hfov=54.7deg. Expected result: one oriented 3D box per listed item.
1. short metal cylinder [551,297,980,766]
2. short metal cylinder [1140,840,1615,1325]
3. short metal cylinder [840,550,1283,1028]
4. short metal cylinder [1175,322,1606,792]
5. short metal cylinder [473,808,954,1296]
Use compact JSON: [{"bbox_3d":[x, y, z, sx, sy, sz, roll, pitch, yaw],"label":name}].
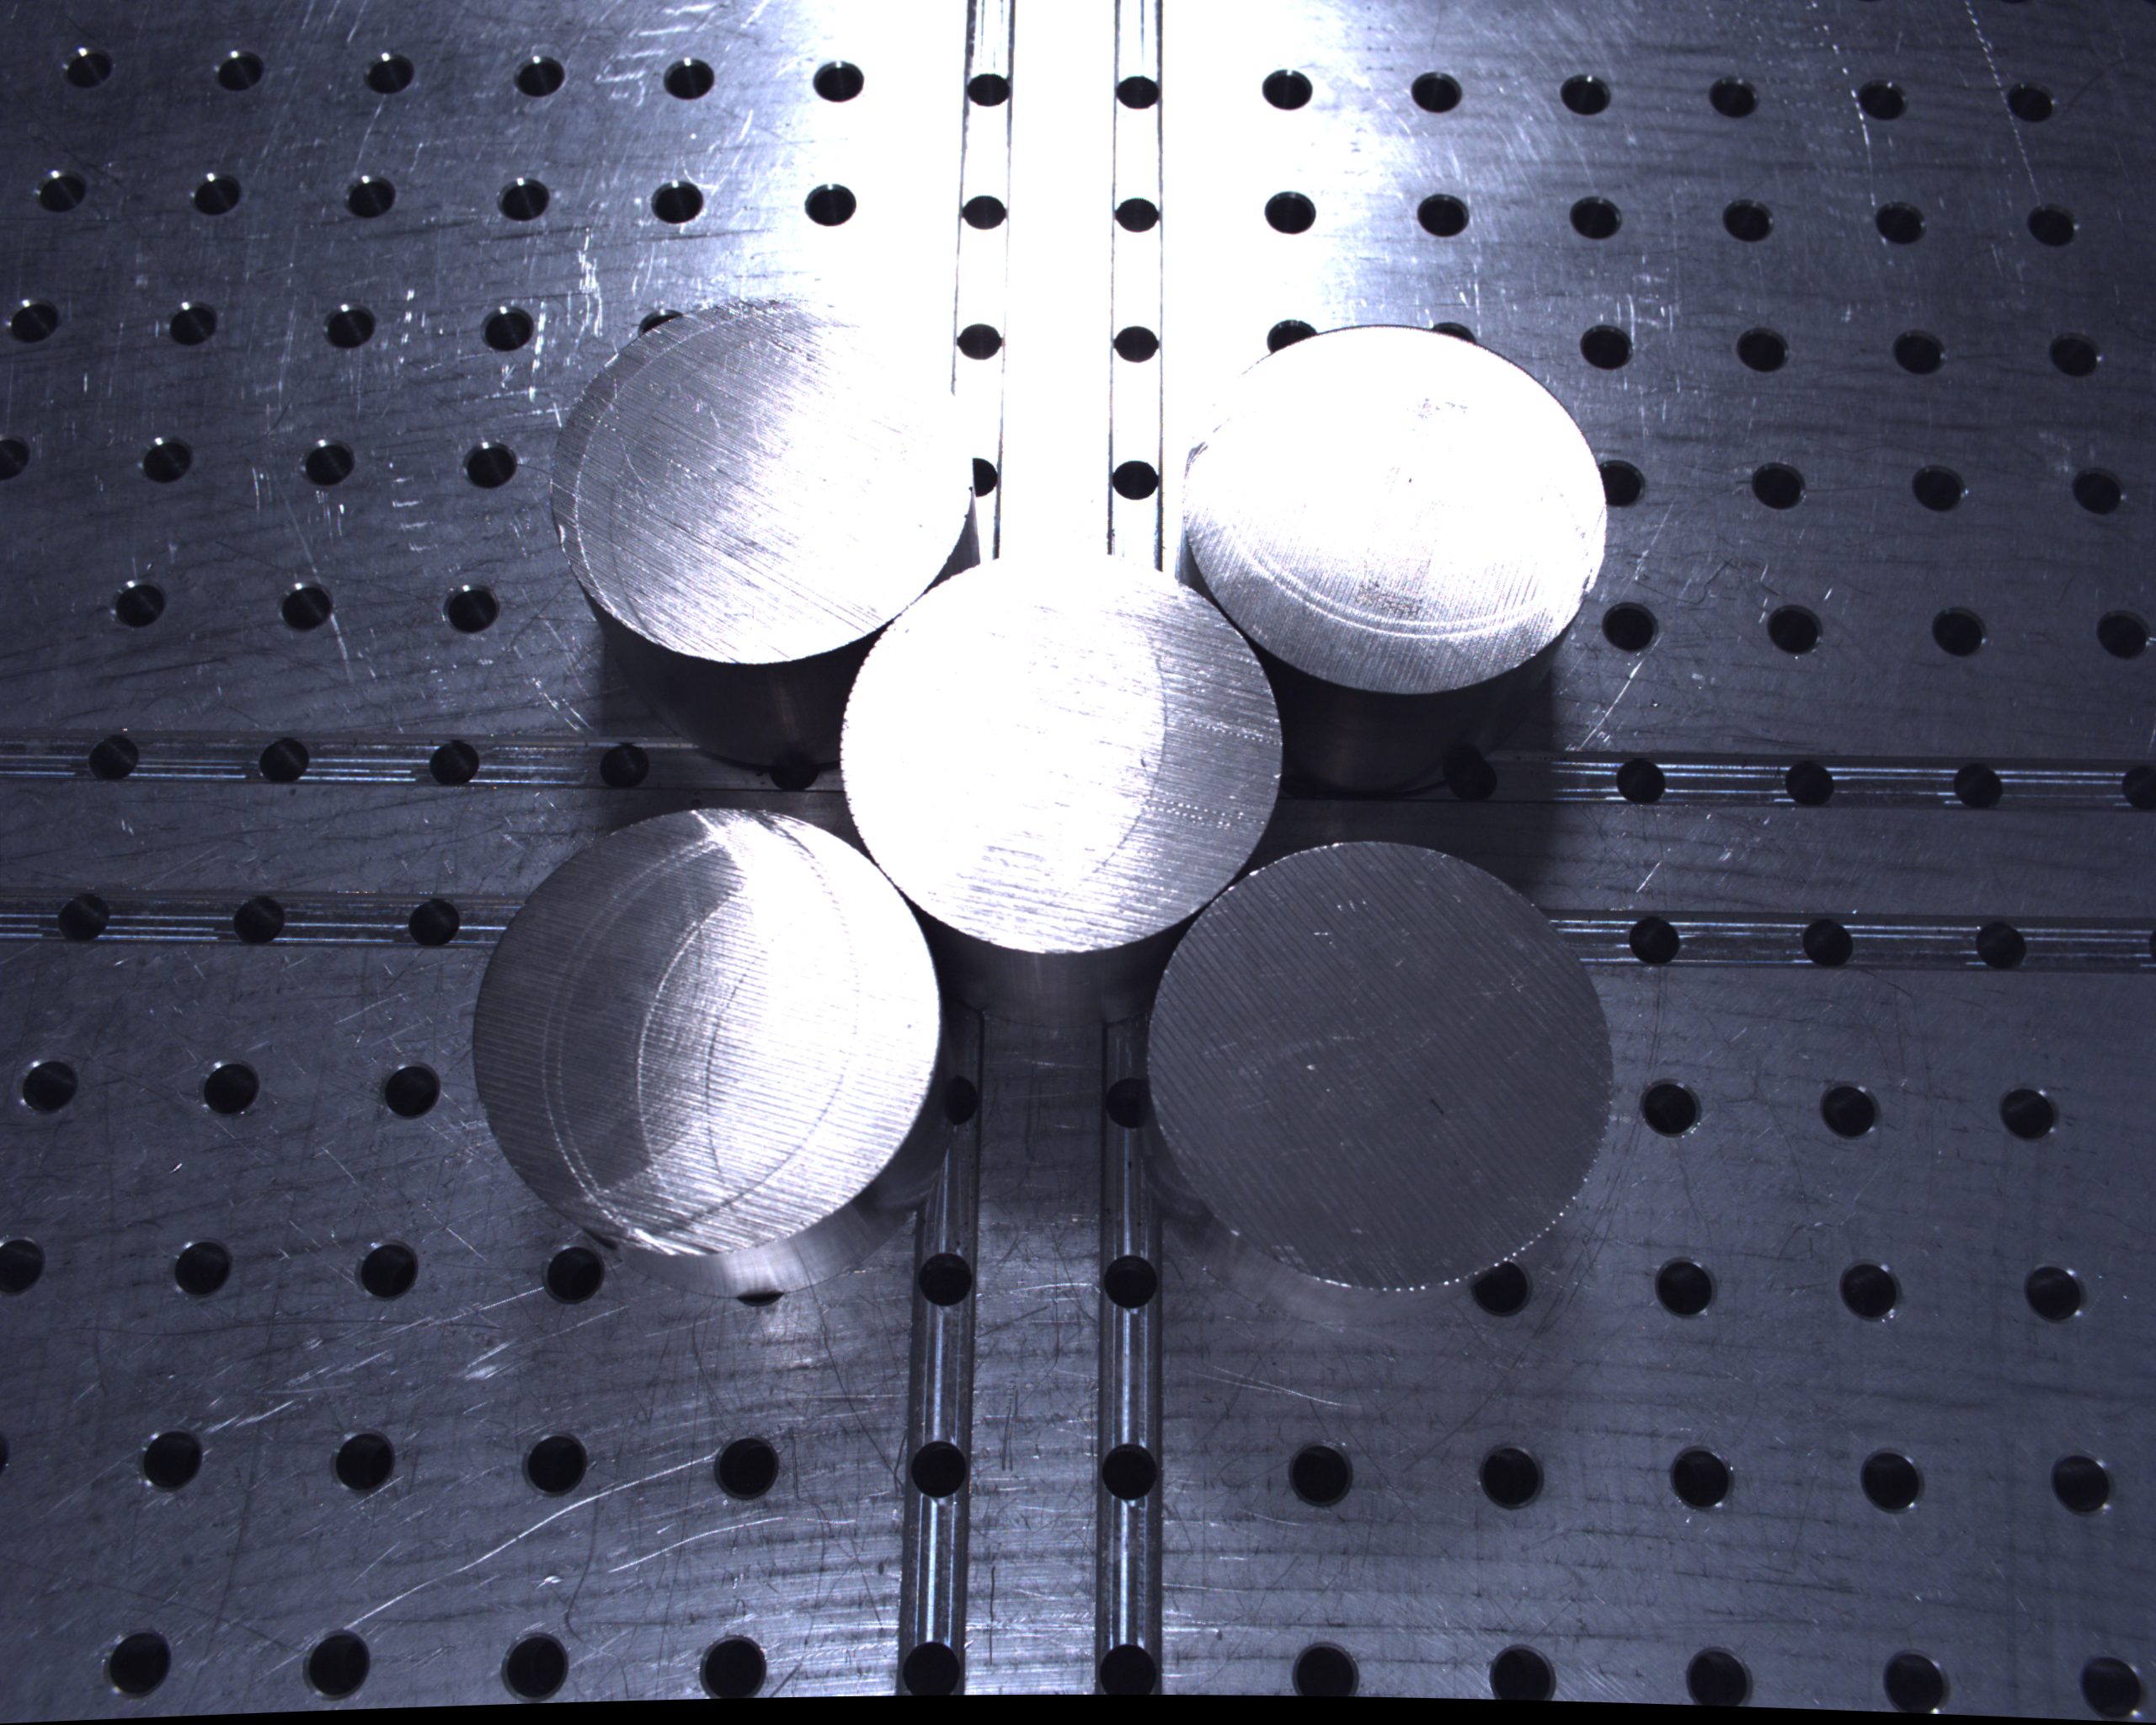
[{"bbox_3d":[-0.060,-0.066,0.421,0.081,0.050,0.080,0,70,0],"label":"short metal cylinder"},{"bbox_3d":[0.052,0.042,0.383,0.081,0.050,0.080,0,70,0],"label":"short metal cylinder"},{"bbox_3d":[-0.003,-0.013,0.403,0.081,0.050,0.080,0,70,0],"label":"short metal cylinder"},{"bbox_3d":[0.060,-0.060,0.419,0.081,0.050,0.080,0,70,0],"label":"short metal cylinder"},{"bbox_3d":[-0.064,0.036,0.383,0.081,0.050,0.080,0,70,0],"label":"short metal cylinder"}]
